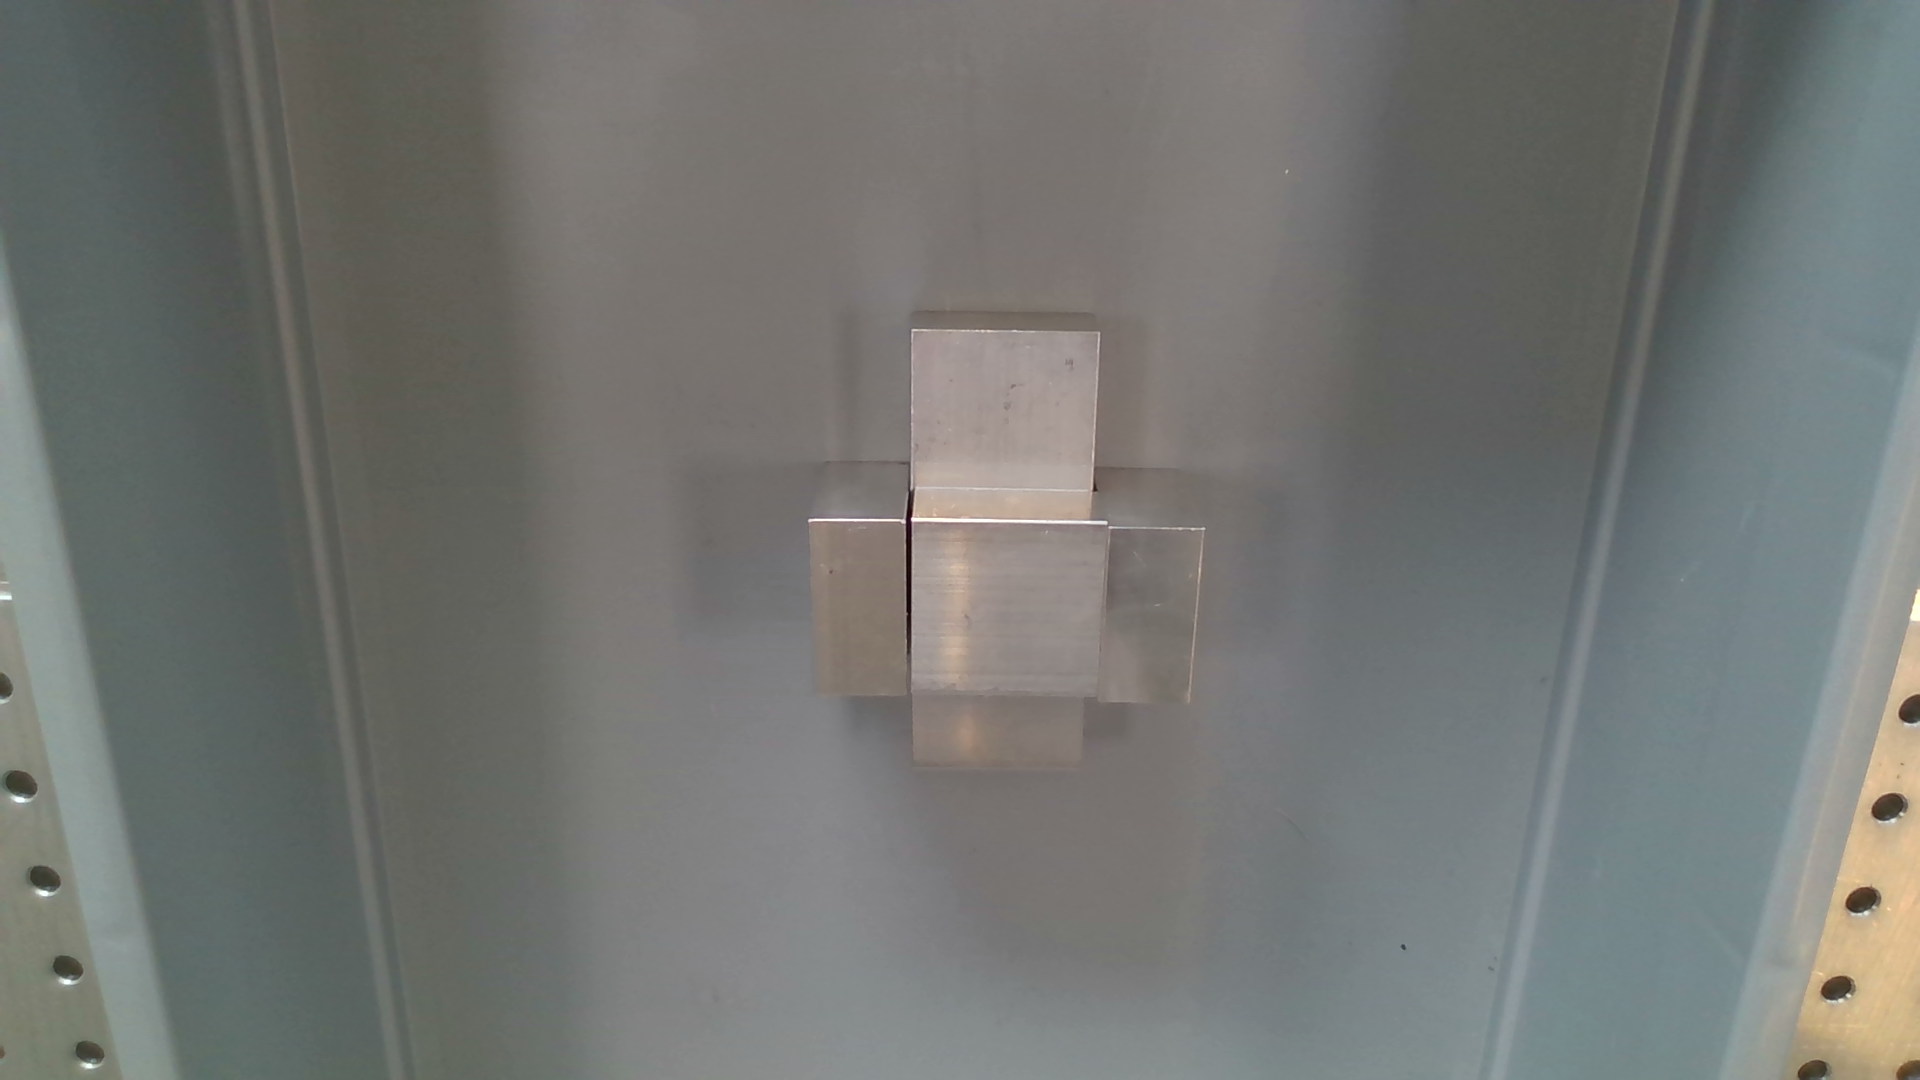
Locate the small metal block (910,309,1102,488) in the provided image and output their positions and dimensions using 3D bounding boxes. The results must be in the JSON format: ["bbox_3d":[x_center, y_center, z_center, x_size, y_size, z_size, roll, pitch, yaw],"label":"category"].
[{"bbox_3d":[0.012,-0.036,0.378,0.050,0.025,0.050,1,110,0],"label":"small metal block"}]

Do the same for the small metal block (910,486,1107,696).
[{"bbox_3d":[0.012,0.013,0.370,0.050,0.025,0.050,1,110,0],"label":"small metal block"}]

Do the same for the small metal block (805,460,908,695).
[{"bbox_3d":[-0.027,0.009,0.381,0.025,0.050,0.050,1,110,0],"label":"small metal block"}]

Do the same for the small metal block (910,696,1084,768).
[{"bbox_3d":[0.011,0.039,0.407,0.050,0.025,0.050,1,110,0],"label":"small metal block"}]

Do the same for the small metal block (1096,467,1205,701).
[{"bbox_3d":[0.050,0.011,0.382,0.025,0.050,0.050,1,110,0],"label":"small metal block"}]
